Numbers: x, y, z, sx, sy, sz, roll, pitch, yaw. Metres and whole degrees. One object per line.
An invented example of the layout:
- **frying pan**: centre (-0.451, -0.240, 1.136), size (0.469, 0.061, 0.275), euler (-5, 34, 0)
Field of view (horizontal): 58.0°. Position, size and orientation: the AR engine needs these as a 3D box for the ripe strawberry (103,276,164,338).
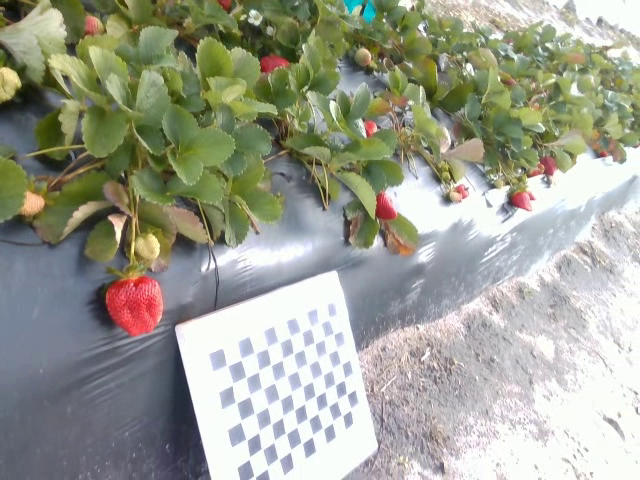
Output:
- **ripe strawberry**: centre (-0.209, 0.074, 0.651), size (0.039, 0.075, 0.067), euler (-15, -4, 42)
